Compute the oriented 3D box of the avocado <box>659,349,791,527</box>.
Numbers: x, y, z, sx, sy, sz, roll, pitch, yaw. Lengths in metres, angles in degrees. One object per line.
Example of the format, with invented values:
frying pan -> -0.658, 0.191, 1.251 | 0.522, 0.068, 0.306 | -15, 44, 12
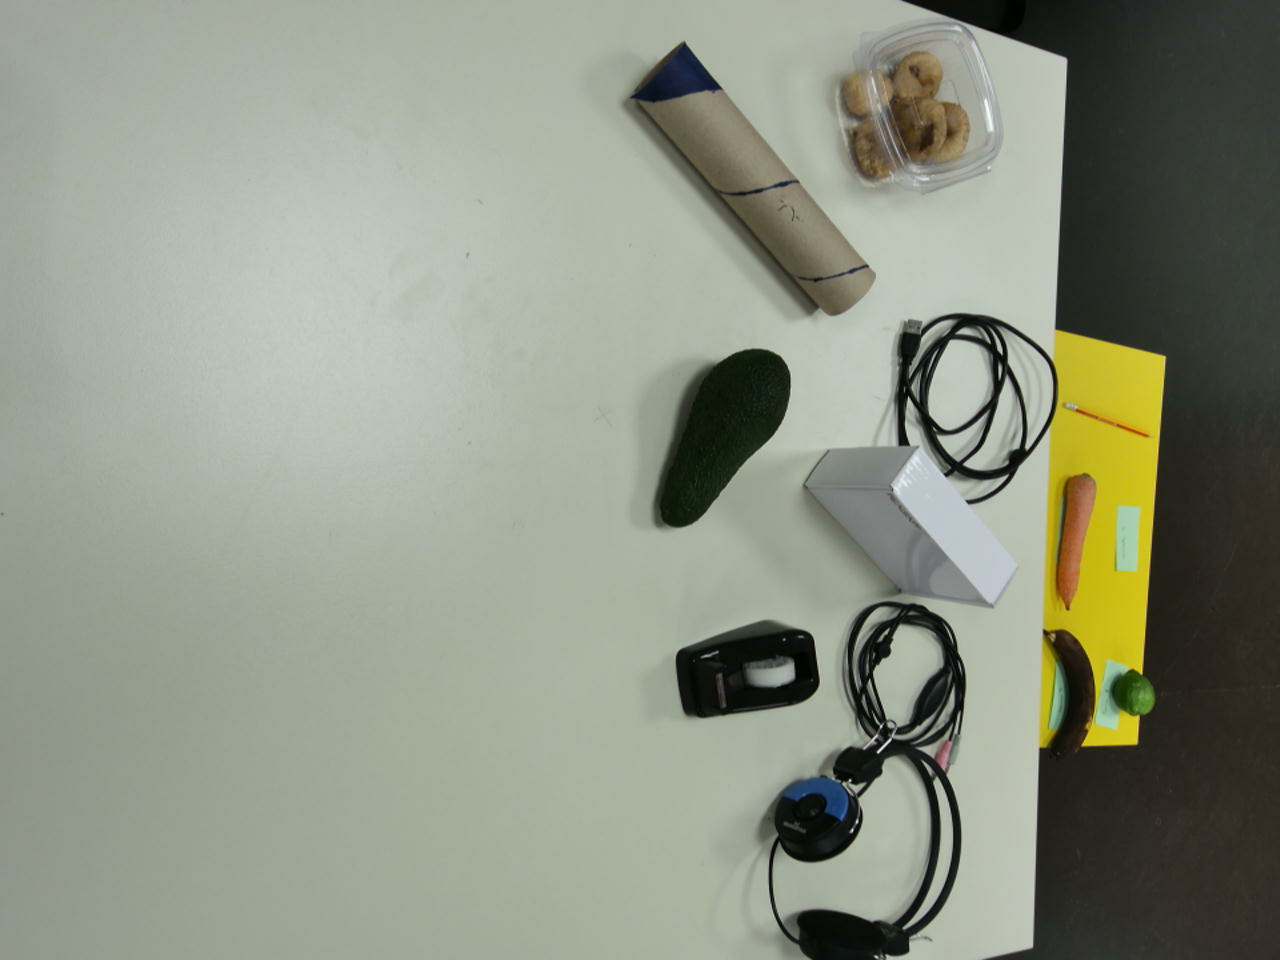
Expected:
avocado -> 0.063, -0.028, 0.698 | 0.063, 0.067, 0.141 | 21, 81, -27
